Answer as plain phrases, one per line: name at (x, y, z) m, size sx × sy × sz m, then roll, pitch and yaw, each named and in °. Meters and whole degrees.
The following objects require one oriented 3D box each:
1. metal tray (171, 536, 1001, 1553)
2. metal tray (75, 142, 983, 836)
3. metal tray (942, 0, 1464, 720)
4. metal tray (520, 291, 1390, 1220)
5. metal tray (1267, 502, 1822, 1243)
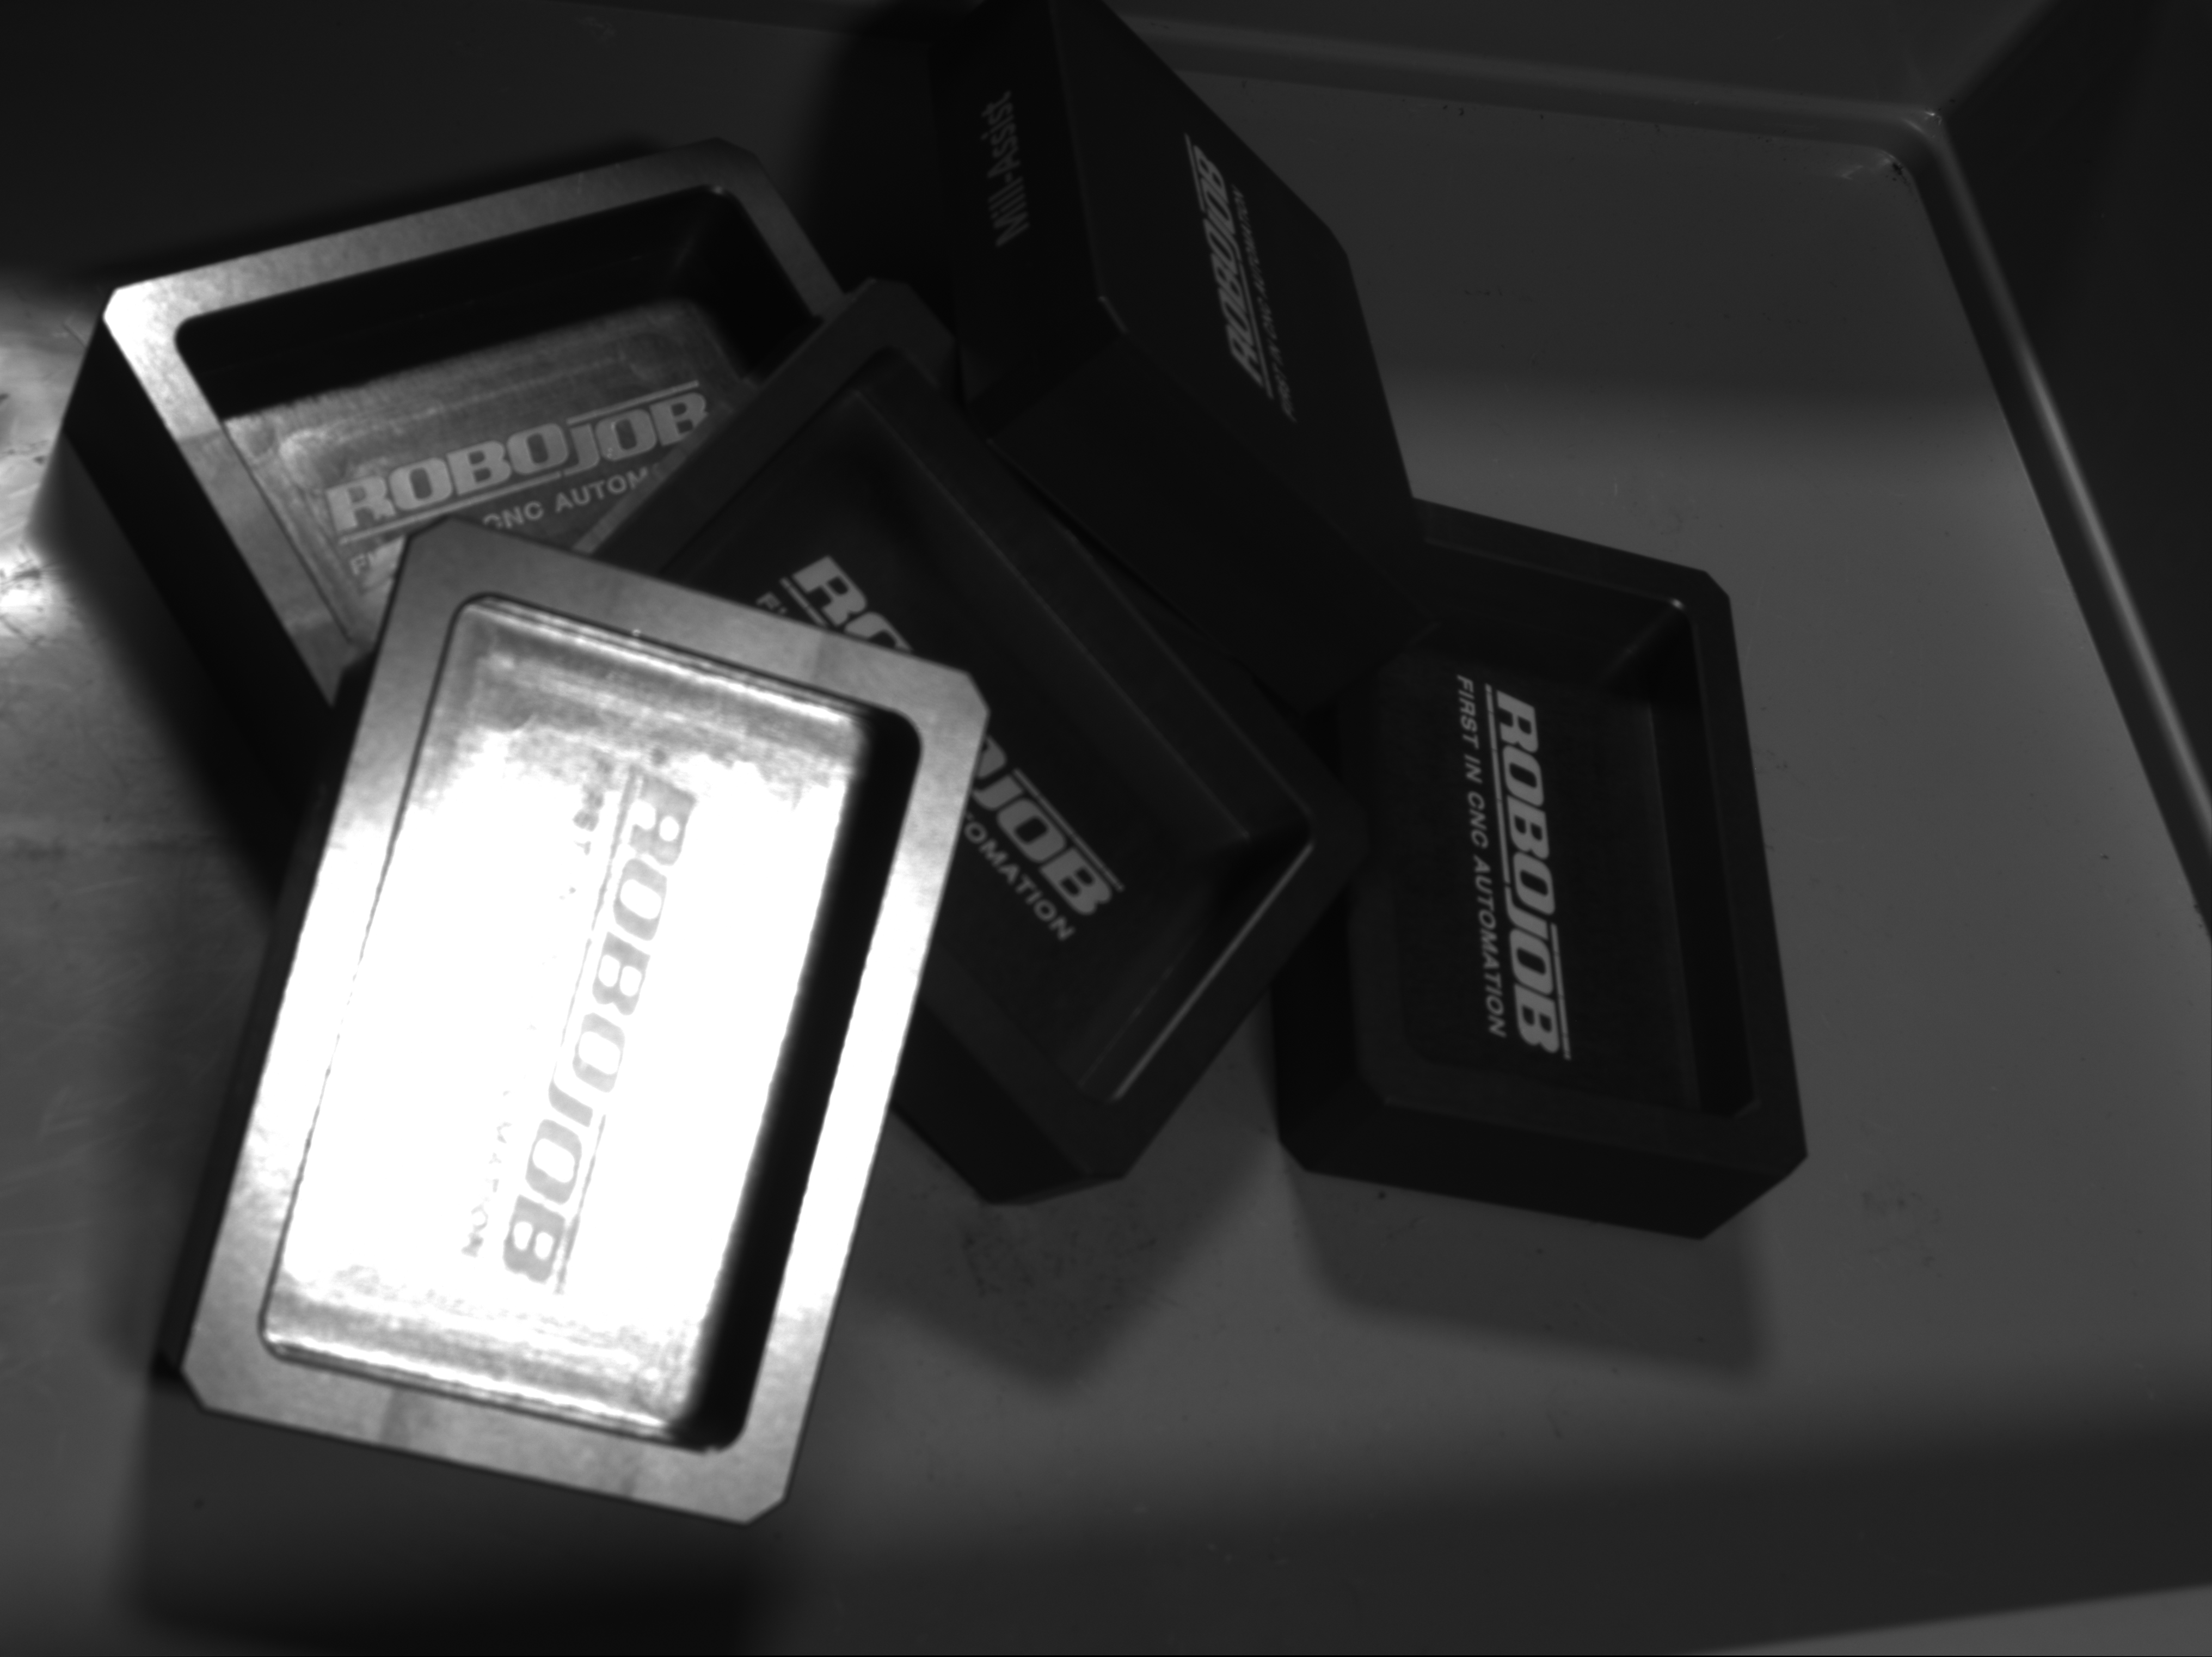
metal tray at (-0.076, 0.032, 0.537) m, size 0.090 × 0.030 × 0.130 m, roll 16°, pitch 84°, yaw -19°
metal tray at (-0.095, -0.061, 0.621) m, size 0.130 × 0.030 × 0.090 m, roll -22°, pitch 74°, yaw -36°
metal tray at (0.015, -0.089, 0.654) m, size 0.090 × 0.030 × 0.130 m, roll 38°, pitch 27°, yaw -32°
metal tray at (-0.023, -0.011, 0.602) m, size 0.130 × 0.030 × 0.090 m, roll 48°, pitch 56°, yaw -13°
metal tray at (0.079, 0.005, 0.674) m, size 0.090 × 0.030 × 0.130 m, roll 12°, pitch 57°, yaw -22°
